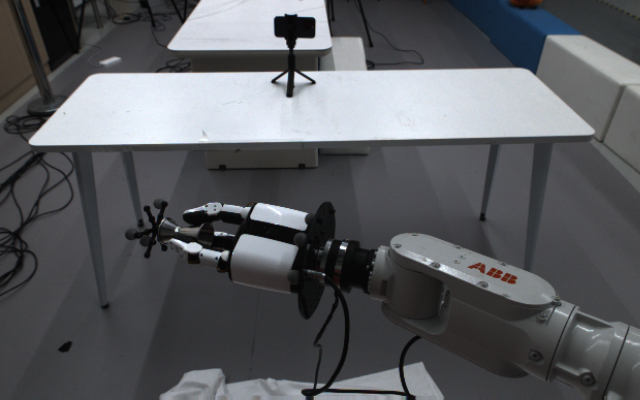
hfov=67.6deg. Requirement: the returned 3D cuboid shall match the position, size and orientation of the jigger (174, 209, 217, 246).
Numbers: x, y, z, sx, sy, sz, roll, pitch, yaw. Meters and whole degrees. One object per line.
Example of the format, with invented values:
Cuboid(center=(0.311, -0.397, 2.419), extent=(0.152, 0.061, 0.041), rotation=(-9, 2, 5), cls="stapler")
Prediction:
Cuboid(center=(-0.186, 0.043, 0.702), extent=(0.071, 0.043, 0.043), rotation=(6, 34, 18), cls="jigger")
